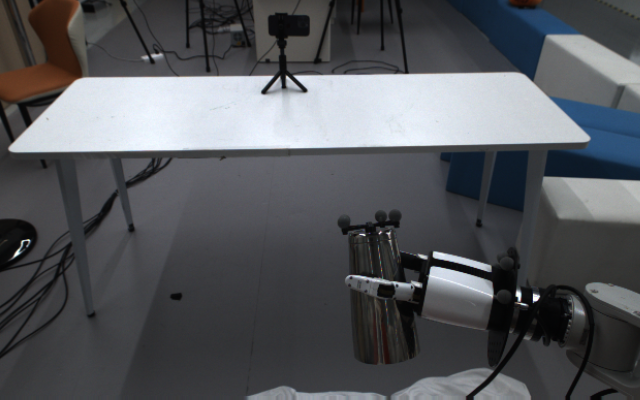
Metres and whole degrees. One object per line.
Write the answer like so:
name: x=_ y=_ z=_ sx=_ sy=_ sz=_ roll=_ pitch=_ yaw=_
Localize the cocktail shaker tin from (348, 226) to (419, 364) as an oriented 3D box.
cocktail shaker tin: x=0.082 y=0.127 z=0.671 sx=0.093 sy=0.170 sz=0.093 roll=-8 pitch=1 yaw=0
